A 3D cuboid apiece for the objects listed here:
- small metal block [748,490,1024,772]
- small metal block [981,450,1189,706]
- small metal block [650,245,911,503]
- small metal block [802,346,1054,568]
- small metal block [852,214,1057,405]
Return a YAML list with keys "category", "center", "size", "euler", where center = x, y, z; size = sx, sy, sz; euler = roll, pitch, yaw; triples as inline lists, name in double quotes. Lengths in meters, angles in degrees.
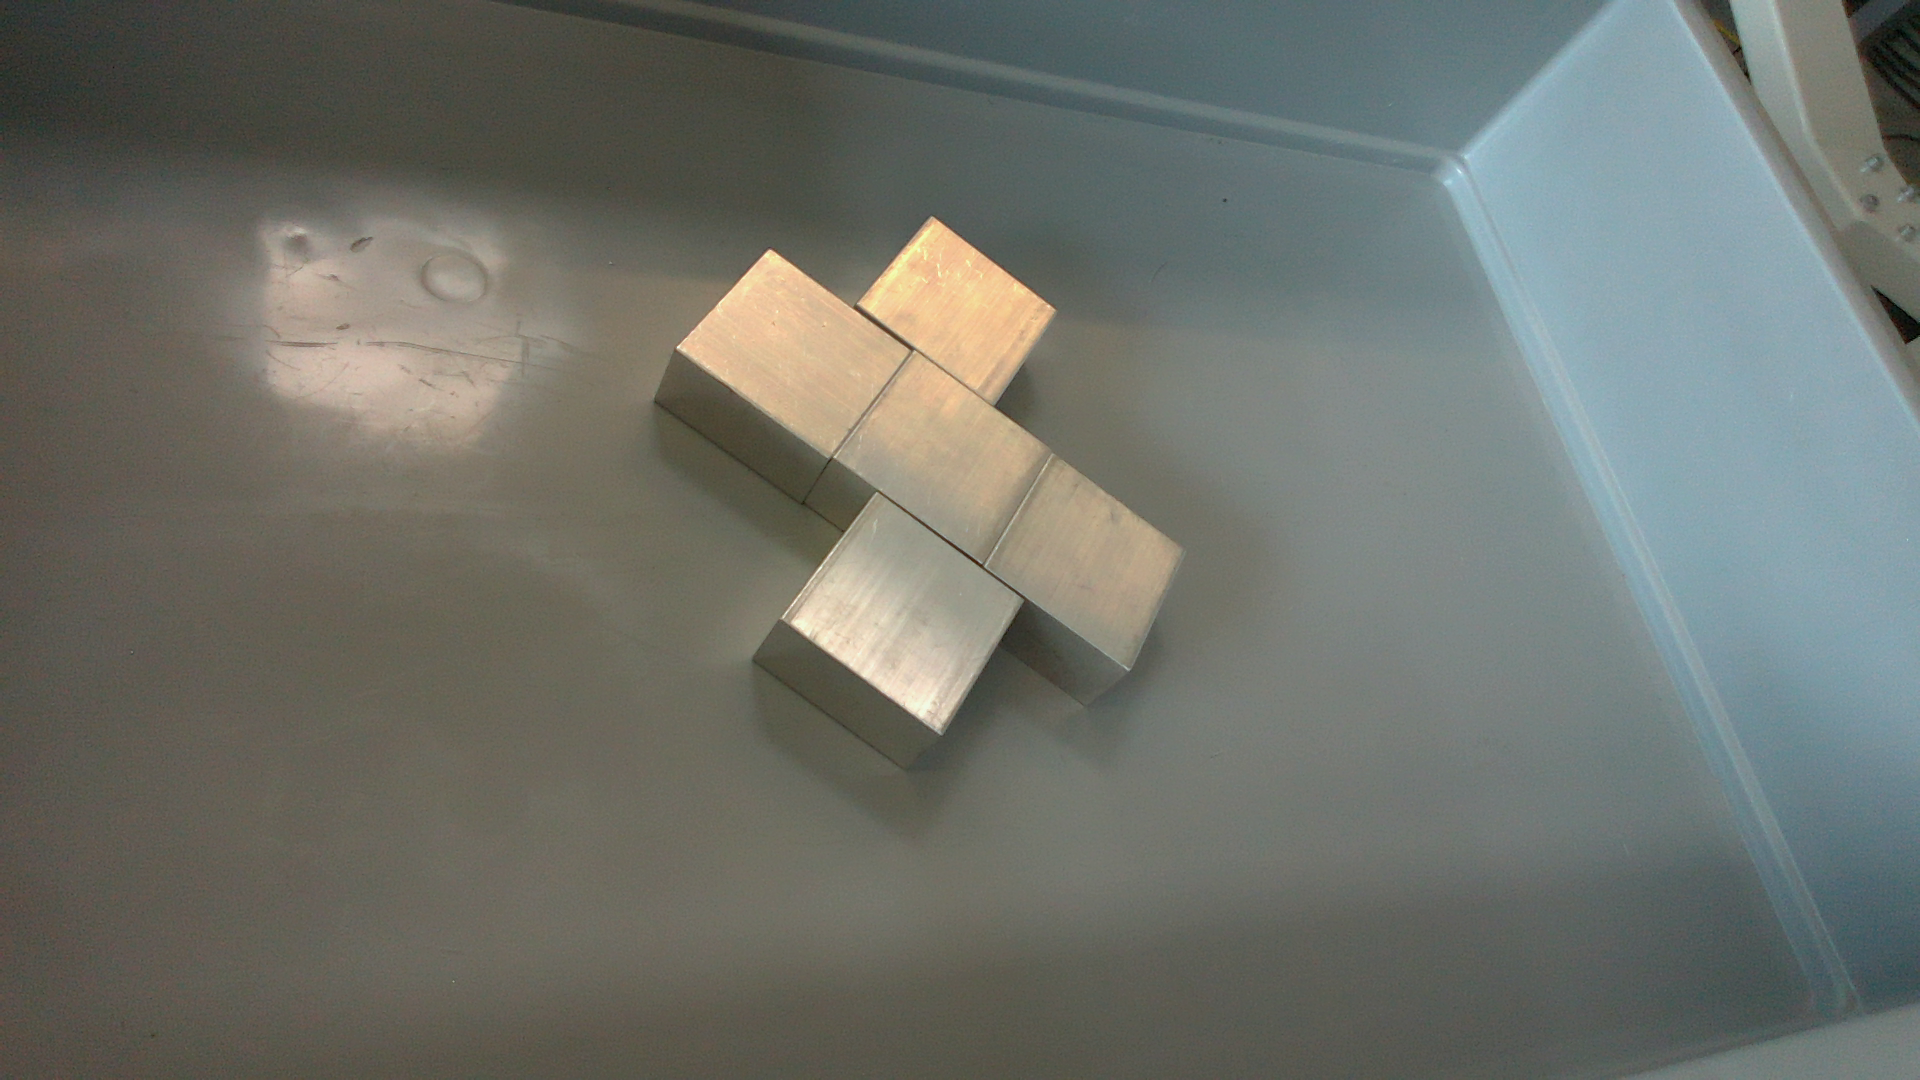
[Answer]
- category: "small metal block"
  center: [-0.019, 0.024, 0.363]
  size: [0.050, 0.025, 0.050]
  euler: [37, 52, -4]
- category: "small metal block"
  center: [0.032, 0.011, 0.398]
  size: [0.050, 0.025, 0.050]
  euler: [36, 51, -4]
- category: "small metal block"
  center: [-0.050, -0.047, 0.389]
  size: [0.050, 0.025, 0.050]
  euler: [36, 51, -4]
- category: "small metal block"
  center: [-0.008, -0.019, 0.394]
  size: [0.050, 0.025, 0.050]
  euler: [36, 51, -4]
- category: "small metal block"
  center: [-0.005, -0.065, 0.424]
  size: [0.050, 0.025, 0.050]
  euler: [36, 50, -4]
